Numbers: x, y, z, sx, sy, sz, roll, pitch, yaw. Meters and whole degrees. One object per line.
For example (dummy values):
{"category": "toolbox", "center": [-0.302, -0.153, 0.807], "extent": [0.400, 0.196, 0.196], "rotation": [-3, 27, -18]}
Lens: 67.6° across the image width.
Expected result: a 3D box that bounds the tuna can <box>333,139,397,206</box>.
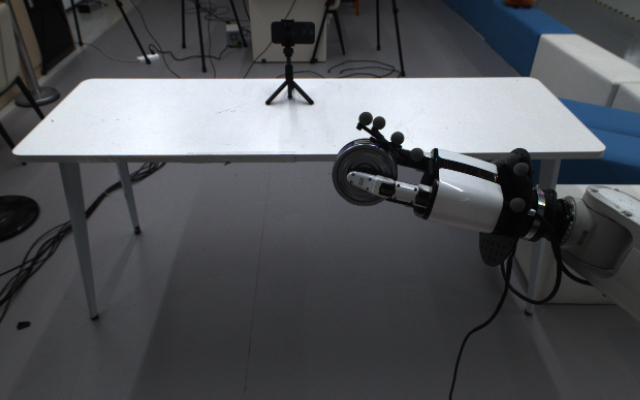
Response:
{"category": "tuna can", "center": [0.063, -0.030, 0.633], "extent": [0.085, 0.085, 0.034], "rotation": [6, 19, 6]}
